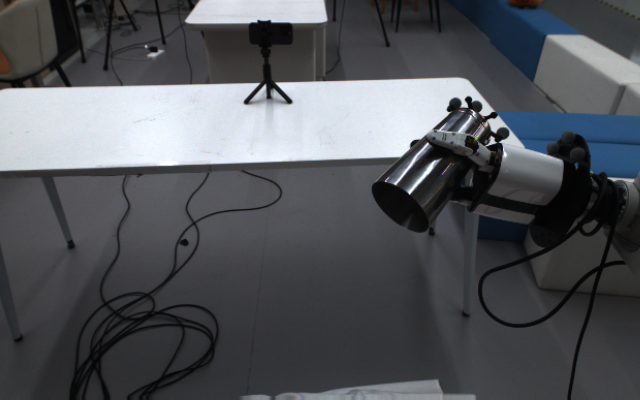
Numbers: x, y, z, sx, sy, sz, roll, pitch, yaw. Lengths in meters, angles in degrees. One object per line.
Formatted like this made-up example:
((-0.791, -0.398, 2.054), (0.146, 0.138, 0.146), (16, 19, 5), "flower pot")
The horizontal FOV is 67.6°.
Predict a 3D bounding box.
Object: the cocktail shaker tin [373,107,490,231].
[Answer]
((0.159, -0.052, 0.657), (0.093, 0.093, 0.170), (32, 66, 35), "cocktail shaker tin")
